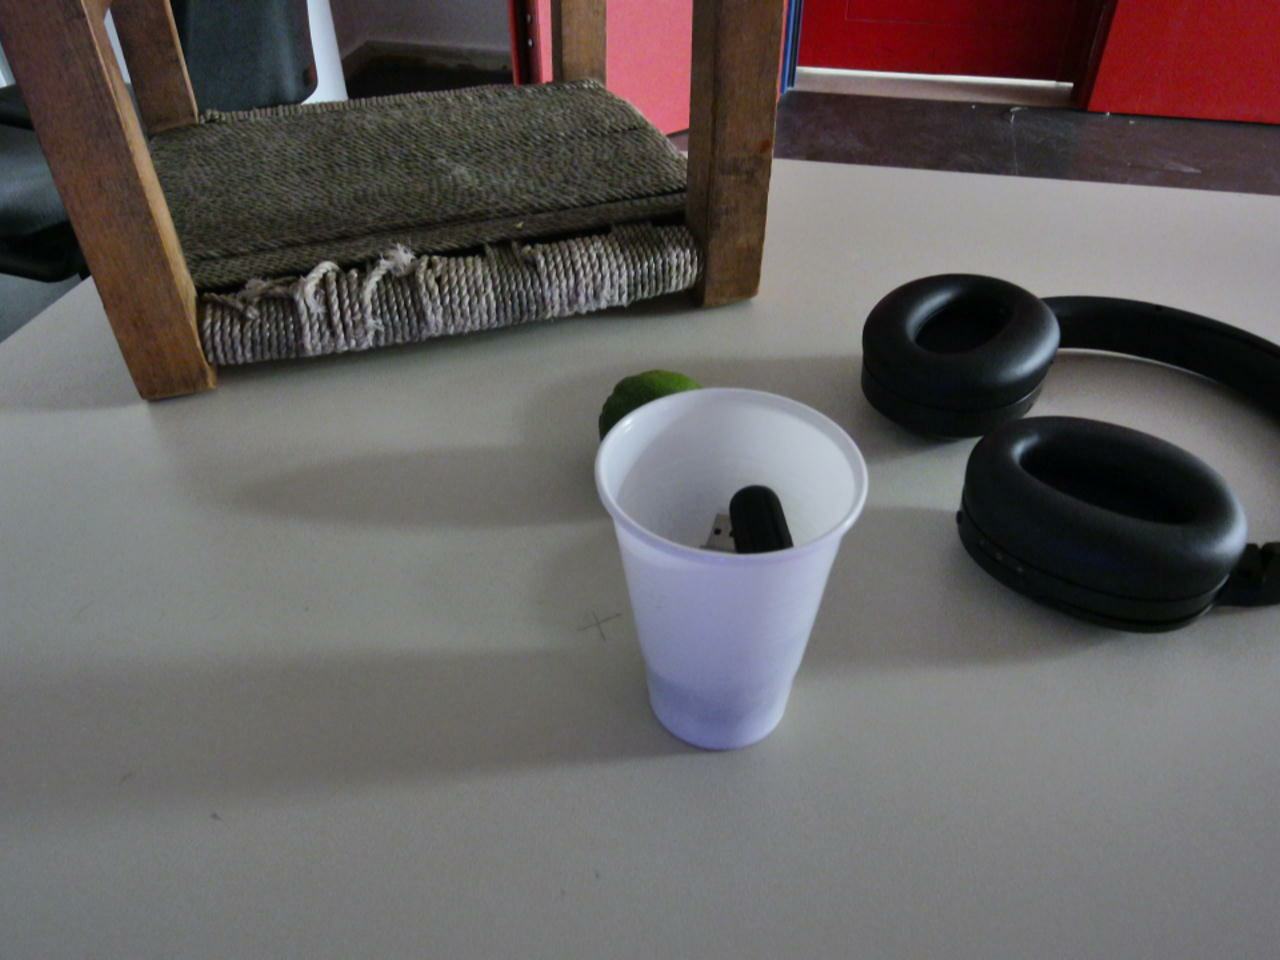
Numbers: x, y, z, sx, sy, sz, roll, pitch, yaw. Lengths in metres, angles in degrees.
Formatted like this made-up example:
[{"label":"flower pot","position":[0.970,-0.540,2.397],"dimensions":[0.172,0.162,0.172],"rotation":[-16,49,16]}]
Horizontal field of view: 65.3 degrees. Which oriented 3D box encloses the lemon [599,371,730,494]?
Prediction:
[{"label":"lemon","position":[0.011,-0.022,0.434],"dimensions":[0.057,0.051,0.054],"rotation":[7,39,8]}]
